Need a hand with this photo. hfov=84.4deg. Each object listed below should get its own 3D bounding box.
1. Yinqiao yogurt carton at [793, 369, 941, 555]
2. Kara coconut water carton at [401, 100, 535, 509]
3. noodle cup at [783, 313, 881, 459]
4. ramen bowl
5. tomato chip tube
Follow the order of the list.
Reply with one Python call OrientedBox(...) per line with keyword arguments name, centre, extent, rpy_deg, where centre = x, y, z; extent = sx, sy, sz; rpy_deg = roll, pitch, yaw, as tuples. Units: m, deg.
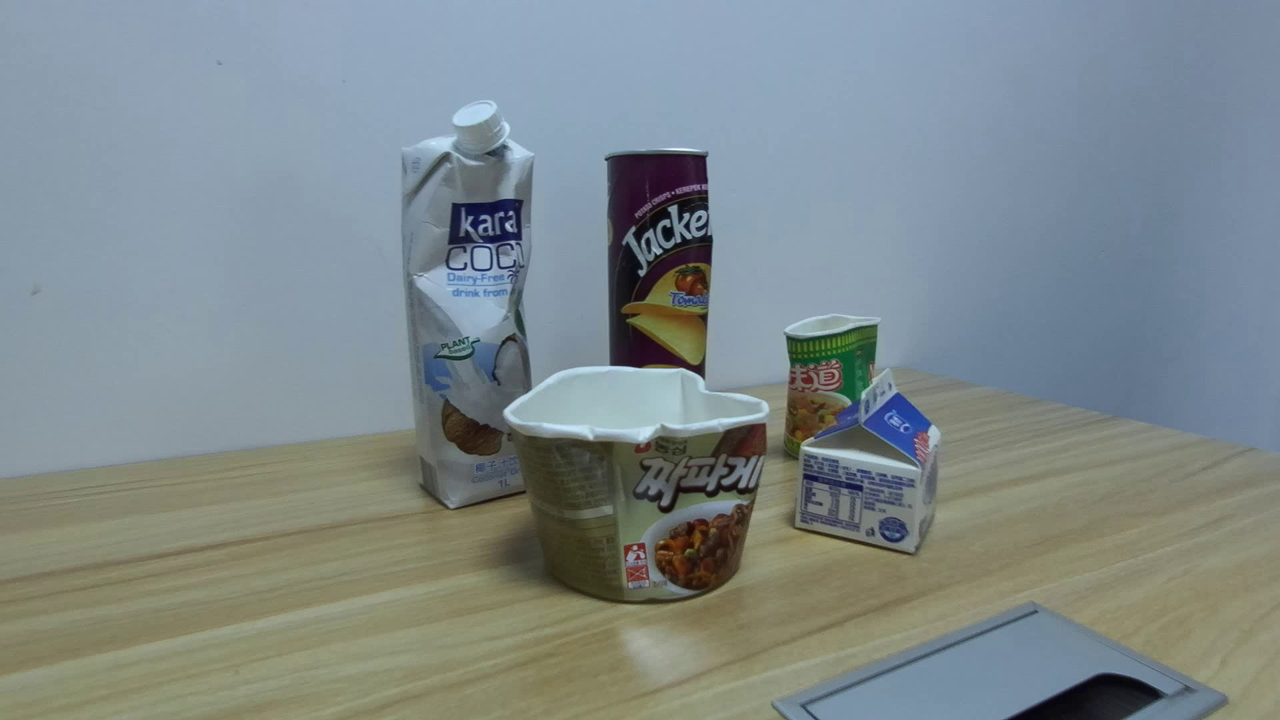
OrientedBox(name="Yinqiao yogurt carton", centre=(0.141, 0.056, 0.430), extent=(0.073, 0.092, 0.076), rpy_deg=(6, 12, 30))
OrientedBox(name="Kara coconut water carton", centre=(-0.113, -0.035, 0.470), extent=(0.083, 0.255, 0.078), rpy_deg=(-4, 13, -22))
OrientedBox(name="noodle cup", centre=(0.148, 0.025, 0.556), extent=(0.115, 0.111, 0.070), rpy_deg=(-2, 8, -33))
OrientedBox(name="ramen bowl", centre=(-0.007, 0.062, 0.382), extent=(0.134, 0.097, 0.113), rpy_deg=(-3, 13, -25))
OrientedBox(name="tomato chip tube", centre=(0.013, -0.041, 0.557), extent=(0.076, 0.235, 0.077), rpy_deg=(-1, 9, -7))
